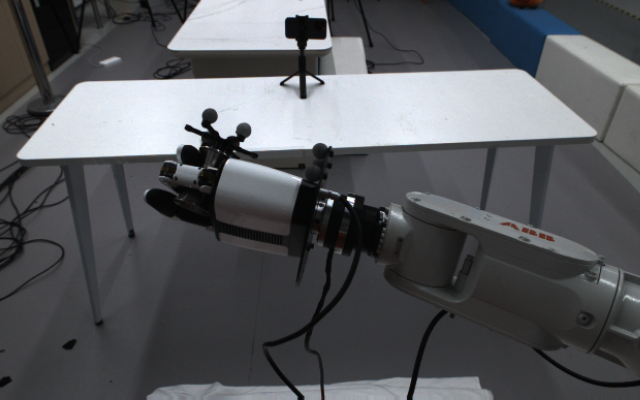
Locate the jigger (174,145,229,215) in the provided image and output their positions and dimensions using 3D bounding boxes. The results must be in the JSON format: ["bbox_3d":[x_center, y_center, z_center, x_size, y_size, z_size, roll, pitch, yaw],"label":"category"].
[{"bbox_3d":[-0.129,-0.023,0.542,0.043,0.043,0.071,15,70,18],"label":"jigger"}]
